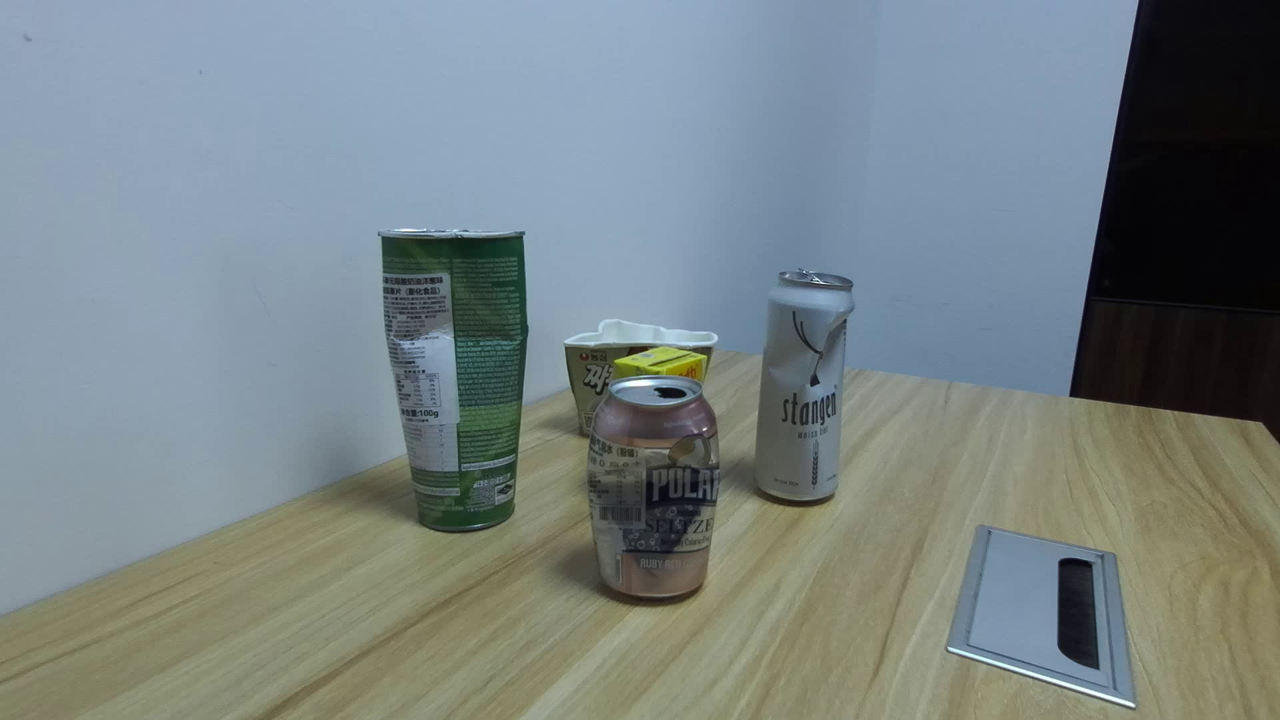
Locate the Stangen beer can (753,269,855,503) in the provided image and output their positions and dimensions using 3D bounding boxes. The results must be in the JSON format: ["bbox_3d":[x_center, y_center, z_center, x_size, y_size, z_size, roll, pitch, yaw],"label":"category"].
[{"bbox_3d":[0.126,0.019,0.530,0.070,0.173,0.069,-1,16,-9],"label":"Stangen beer can"}]

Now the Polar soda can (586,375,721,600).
[{"bbox_3d":[0.010,0.074,0.409,0.074,0.122,0.067,10,19,33],"label":"Polar soda can"}]

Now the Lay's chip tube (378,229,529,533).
[{"bbox_3d":[-0.123,0.013,0.486,0.068,0.199,0.075,12,18,35],"label":"Lay's chip tube"}]

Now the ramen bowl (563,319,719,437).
[{"bbox_3d":[0.007,0.018,0.679,0.133,0.097,0.114,4,15,14],"label":"ramen bowl"}]
